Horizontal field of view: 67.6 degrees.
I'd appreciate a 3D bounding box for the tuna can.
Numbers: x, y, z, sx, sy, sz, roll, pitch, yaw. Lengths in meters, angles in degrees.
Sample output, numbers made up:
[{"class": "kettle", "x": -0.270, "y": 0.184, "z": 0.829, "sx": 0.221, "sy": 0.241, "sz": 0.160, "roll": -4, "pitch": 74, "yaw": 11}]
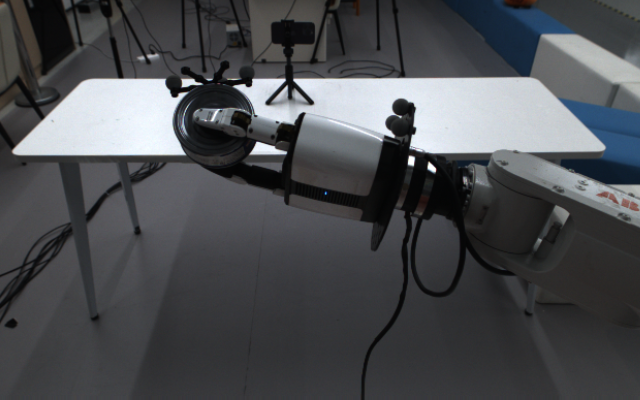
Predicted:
[{"class": "tuna can", "x": -0.105, "y": -0.074, "z": 0.510, "sx": 0.085, "sy": 0.034, "sz": 0.085, "roll": 0, "pitch": 72, "yaw": -1}]
